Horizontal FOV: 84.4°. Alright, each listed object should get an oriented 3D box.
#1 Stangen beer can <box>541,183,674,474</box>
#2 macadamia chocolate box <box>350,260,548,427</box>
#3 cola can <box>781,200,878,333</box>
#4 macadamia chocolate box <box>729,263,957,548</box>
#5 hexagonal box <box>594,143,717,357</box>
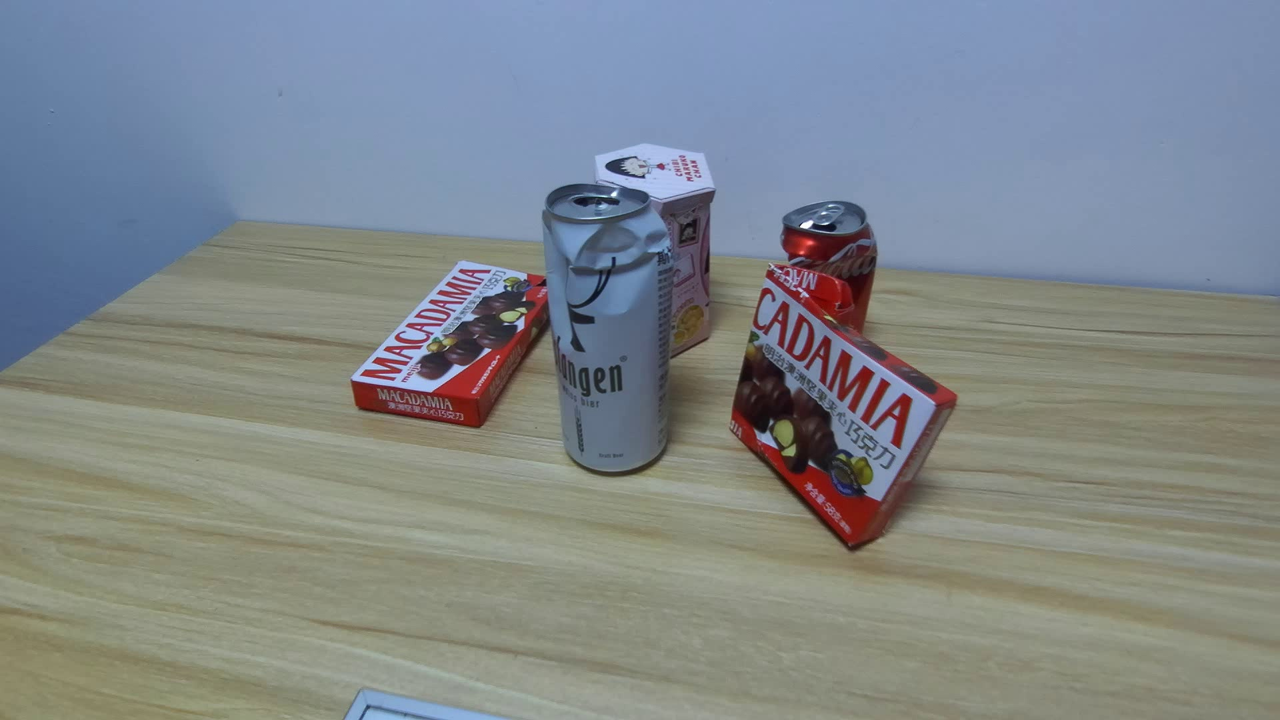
[{"bbox_3d":[-0.017,-0.014,0.406,0.066,0.166,0.065,-12,36,-13],"label":"Stangen beer can"},{"bbox_3d":[-0.127,-0.022,0.545,0.102,0.027,0.187,9,38,9],"label":"macadamia chocolate box"},{"bbox_3d":[0.126,-0.051,0.493,0.069,0.112,0.065,-7,36,-6],"label":"cola can"},{"bbox_3d":[0.107,0.022,0.395,0.056,0.112,0.126,-16,38,-21],"label":"macadamia chocolate box"},{"bbox_3d":[0.009,-0.079,0.517,0.085,0.135,0.092,-5,36,-3],"label":"hexagonal box"}]
